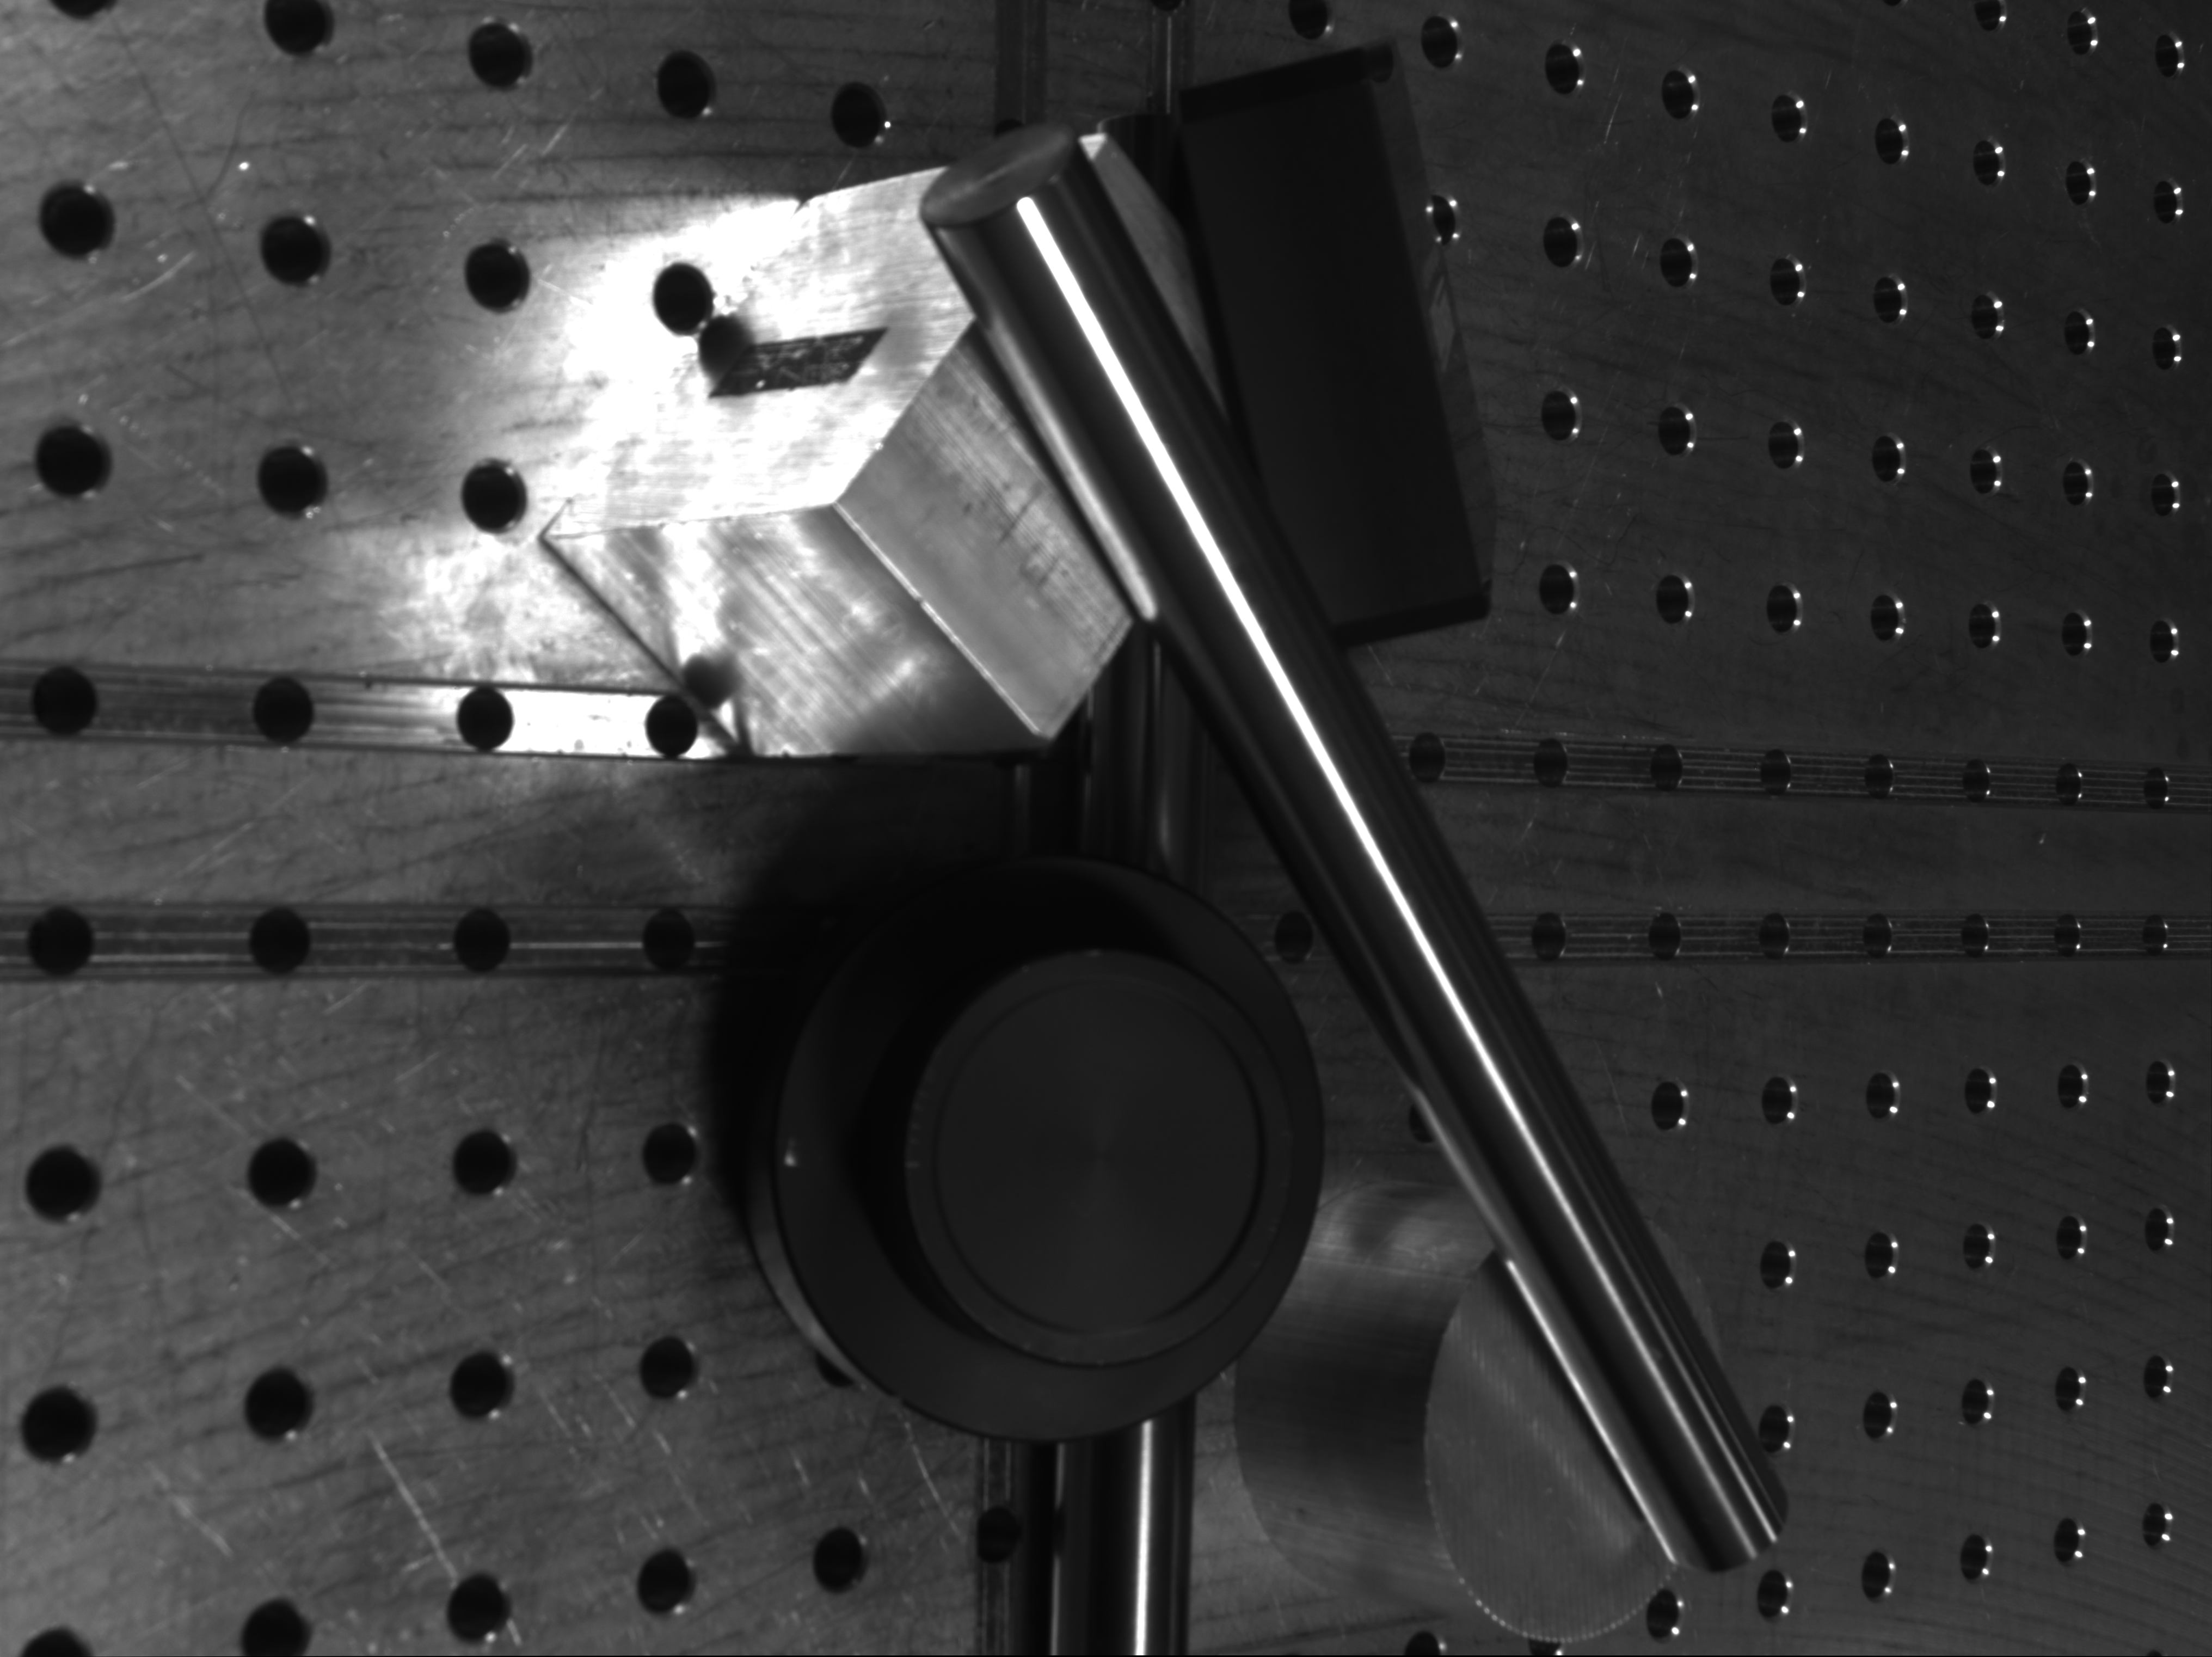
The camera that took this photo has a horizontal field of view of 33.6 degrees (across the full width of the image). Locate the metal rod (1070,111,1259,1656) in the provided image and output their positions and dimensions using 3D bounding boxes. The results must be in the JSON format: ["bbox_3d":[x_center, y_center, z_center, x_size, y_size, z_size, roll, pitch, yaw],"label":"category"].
[{"bbox_3d":[0.010,0.025,0.648,0.025,0.025,0.300,3,88,-40],"label":"metal rod"}]

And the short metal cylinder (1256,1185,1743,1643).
[{"bbox_3d":[0.075,0.108,0.687,0.080,0.050,0.080,0,90,-40],"label":"short metal cylinder"}]

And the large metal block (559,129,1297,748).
[{"bbox_3d":[-0.027,-0.060,0.583,0.050,0.080,0.080,49,61,-29],"label":"large metal block"}]

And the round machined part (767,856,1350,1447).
[{"bbox_3d":[-0.003,0.053,0.606,0.098,0.042,0.098,0,89,-23],"label":"round machined part"}]

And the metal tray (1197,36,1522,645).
[{"bbox_3d":[0.046,-0.087,0.625,0.130,0.030,0.090,-61,138,-75],"label":"metal tray"}]

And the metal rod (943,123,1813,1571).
[{"bbox_3d":[0.053,0.018,0.593,0.025,0.025,0.301,-50,127,-28],"label":"metal rod"}]
